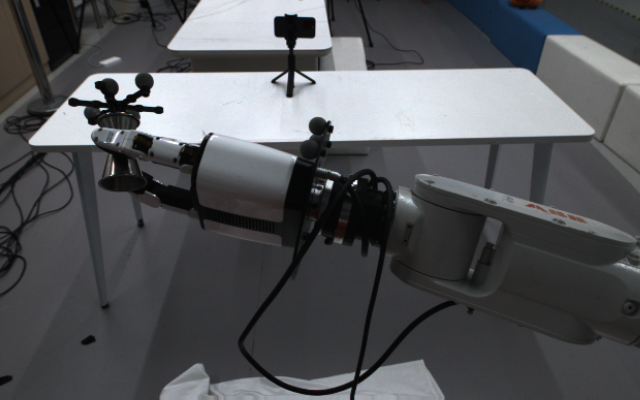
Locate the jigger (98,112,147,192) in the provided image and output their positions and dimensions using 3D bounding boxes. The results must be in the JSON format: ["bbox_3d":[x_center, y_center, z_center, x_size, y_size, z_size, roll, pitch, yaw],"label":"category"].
[{"bbox_3d":[-0.195,-0.045,0.480,0.043,0.043,0.071,-7,73,-13],"label":"jigger"}]
